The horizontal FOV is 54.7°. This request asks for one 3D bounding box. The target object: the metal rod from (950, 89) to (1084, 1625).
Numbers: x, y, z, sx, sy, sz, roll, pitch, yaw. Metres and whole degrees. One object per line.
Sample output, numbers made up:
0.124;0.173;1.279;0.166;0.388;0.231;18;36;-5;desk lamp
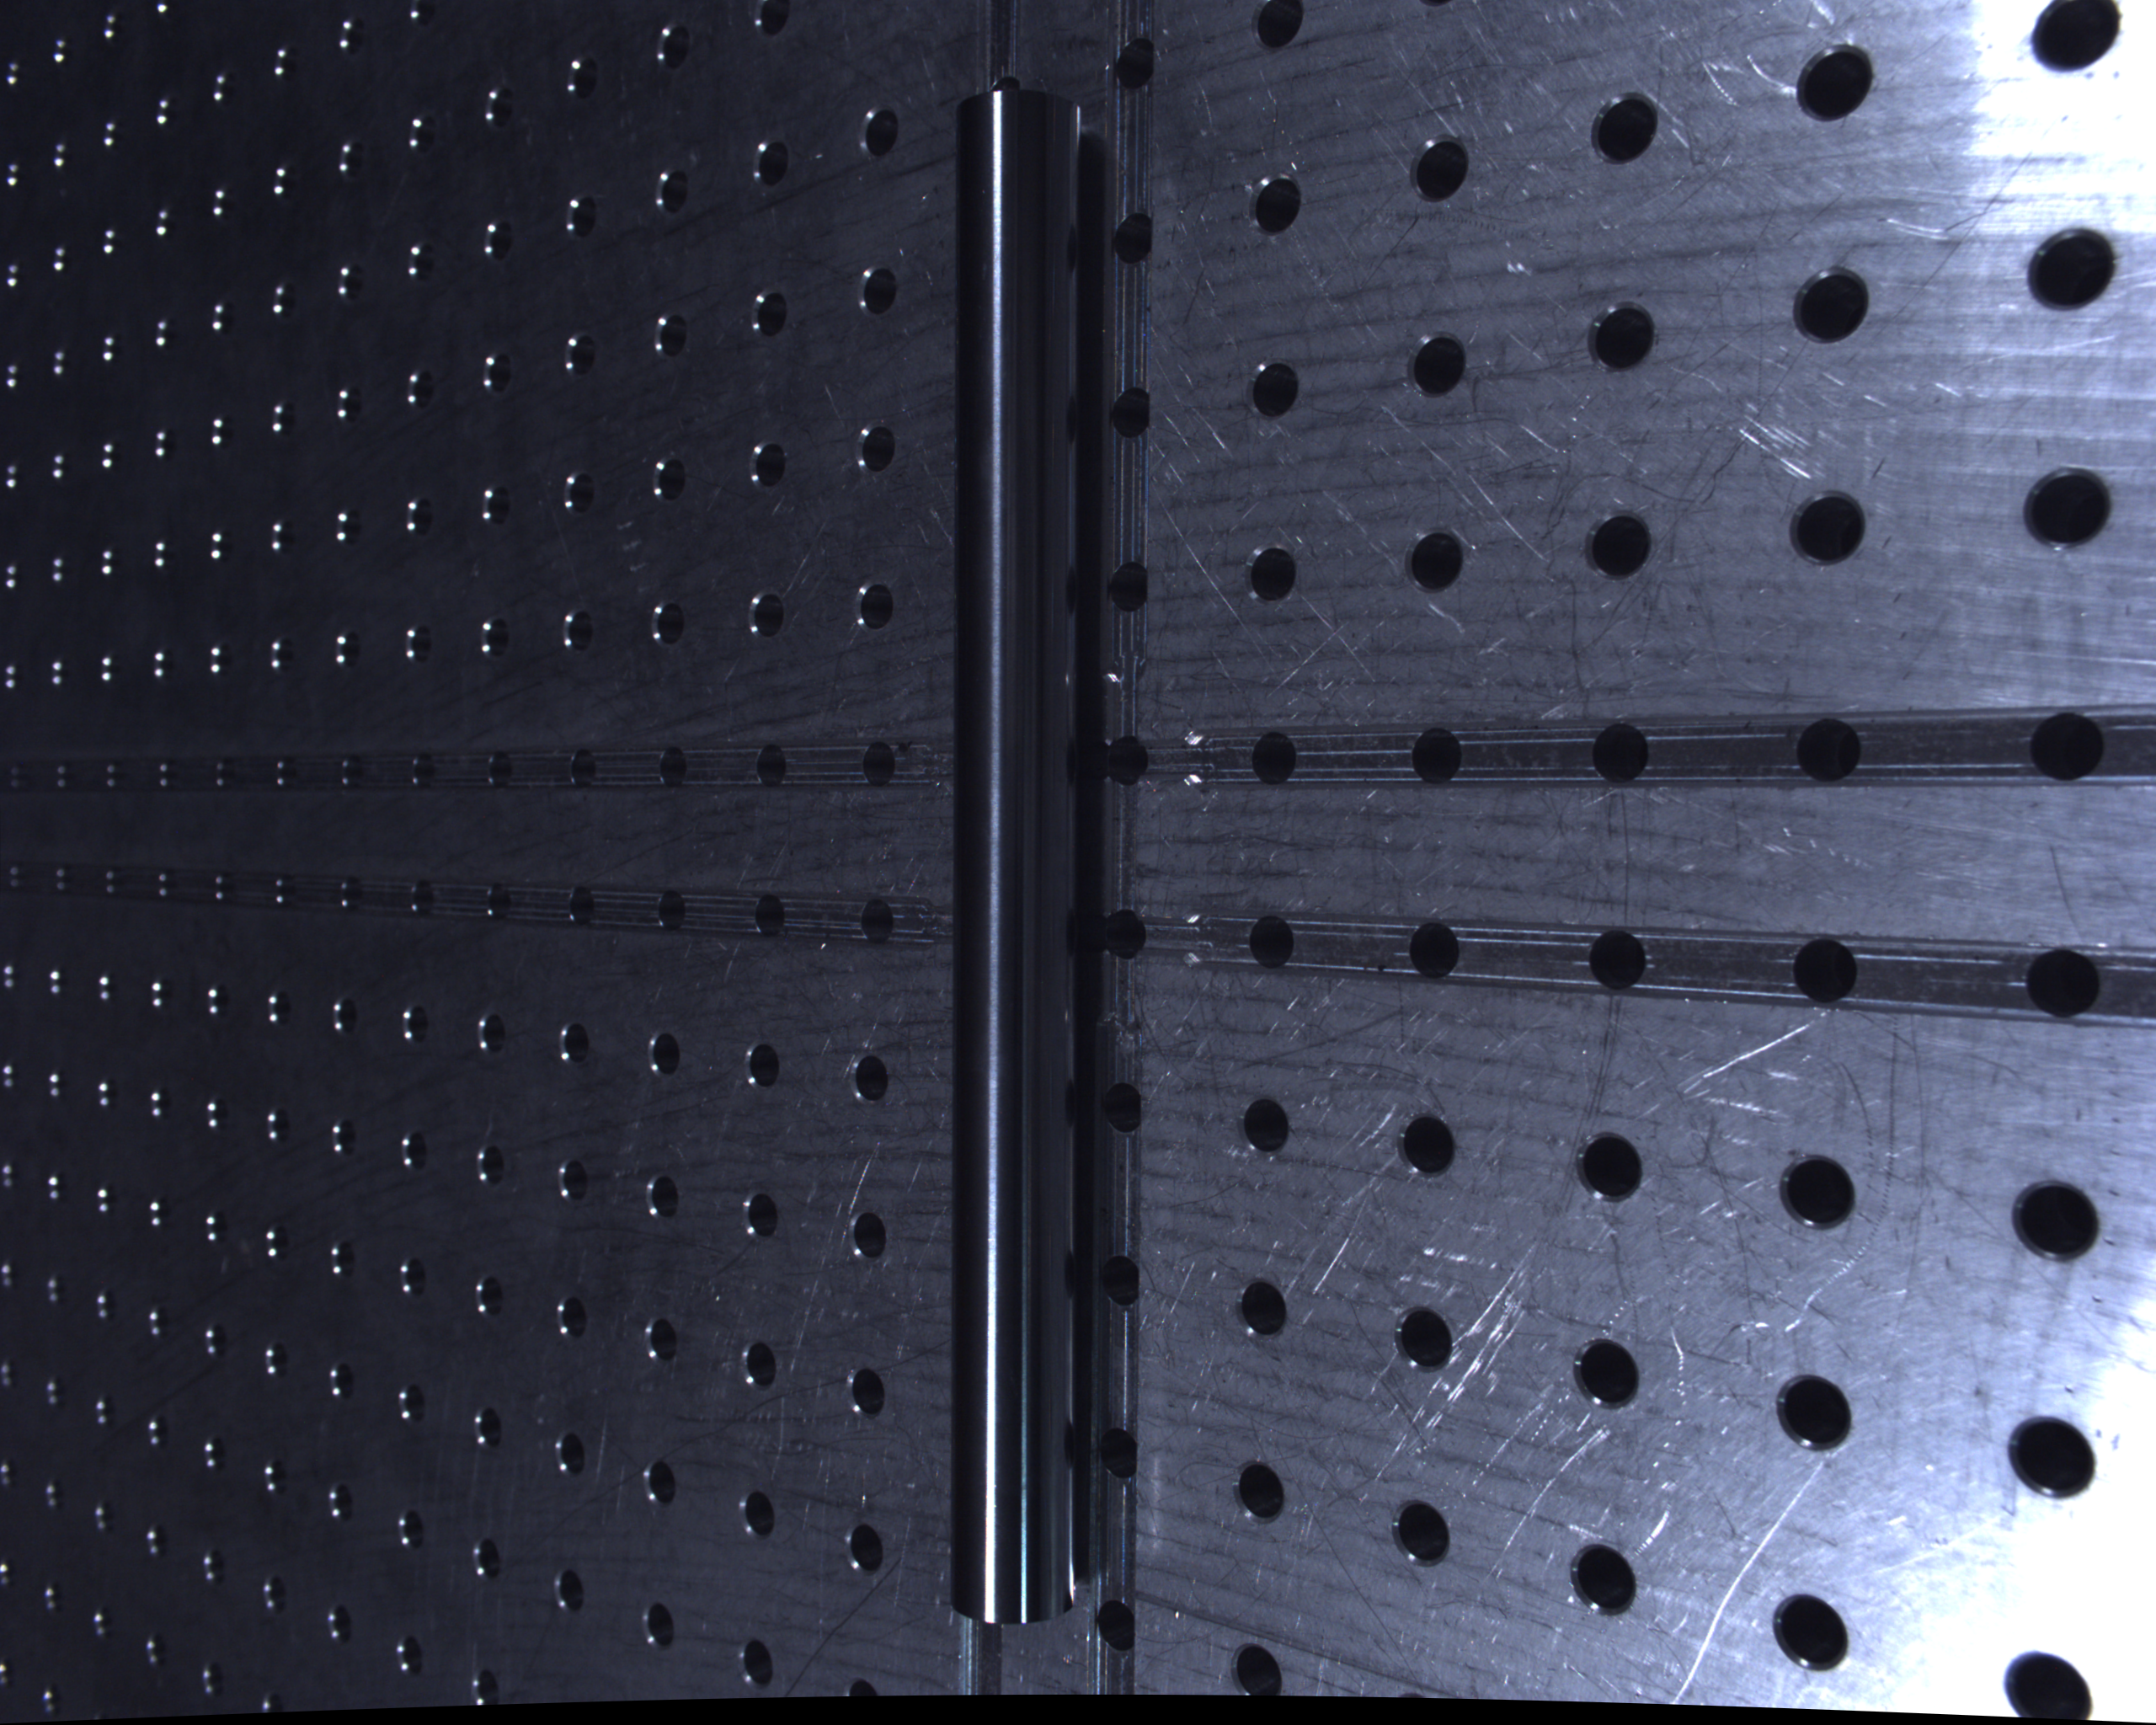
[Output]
-0.012;-0.001;0.417;0.025;0.025;0.298;1;90;39;metal rod
